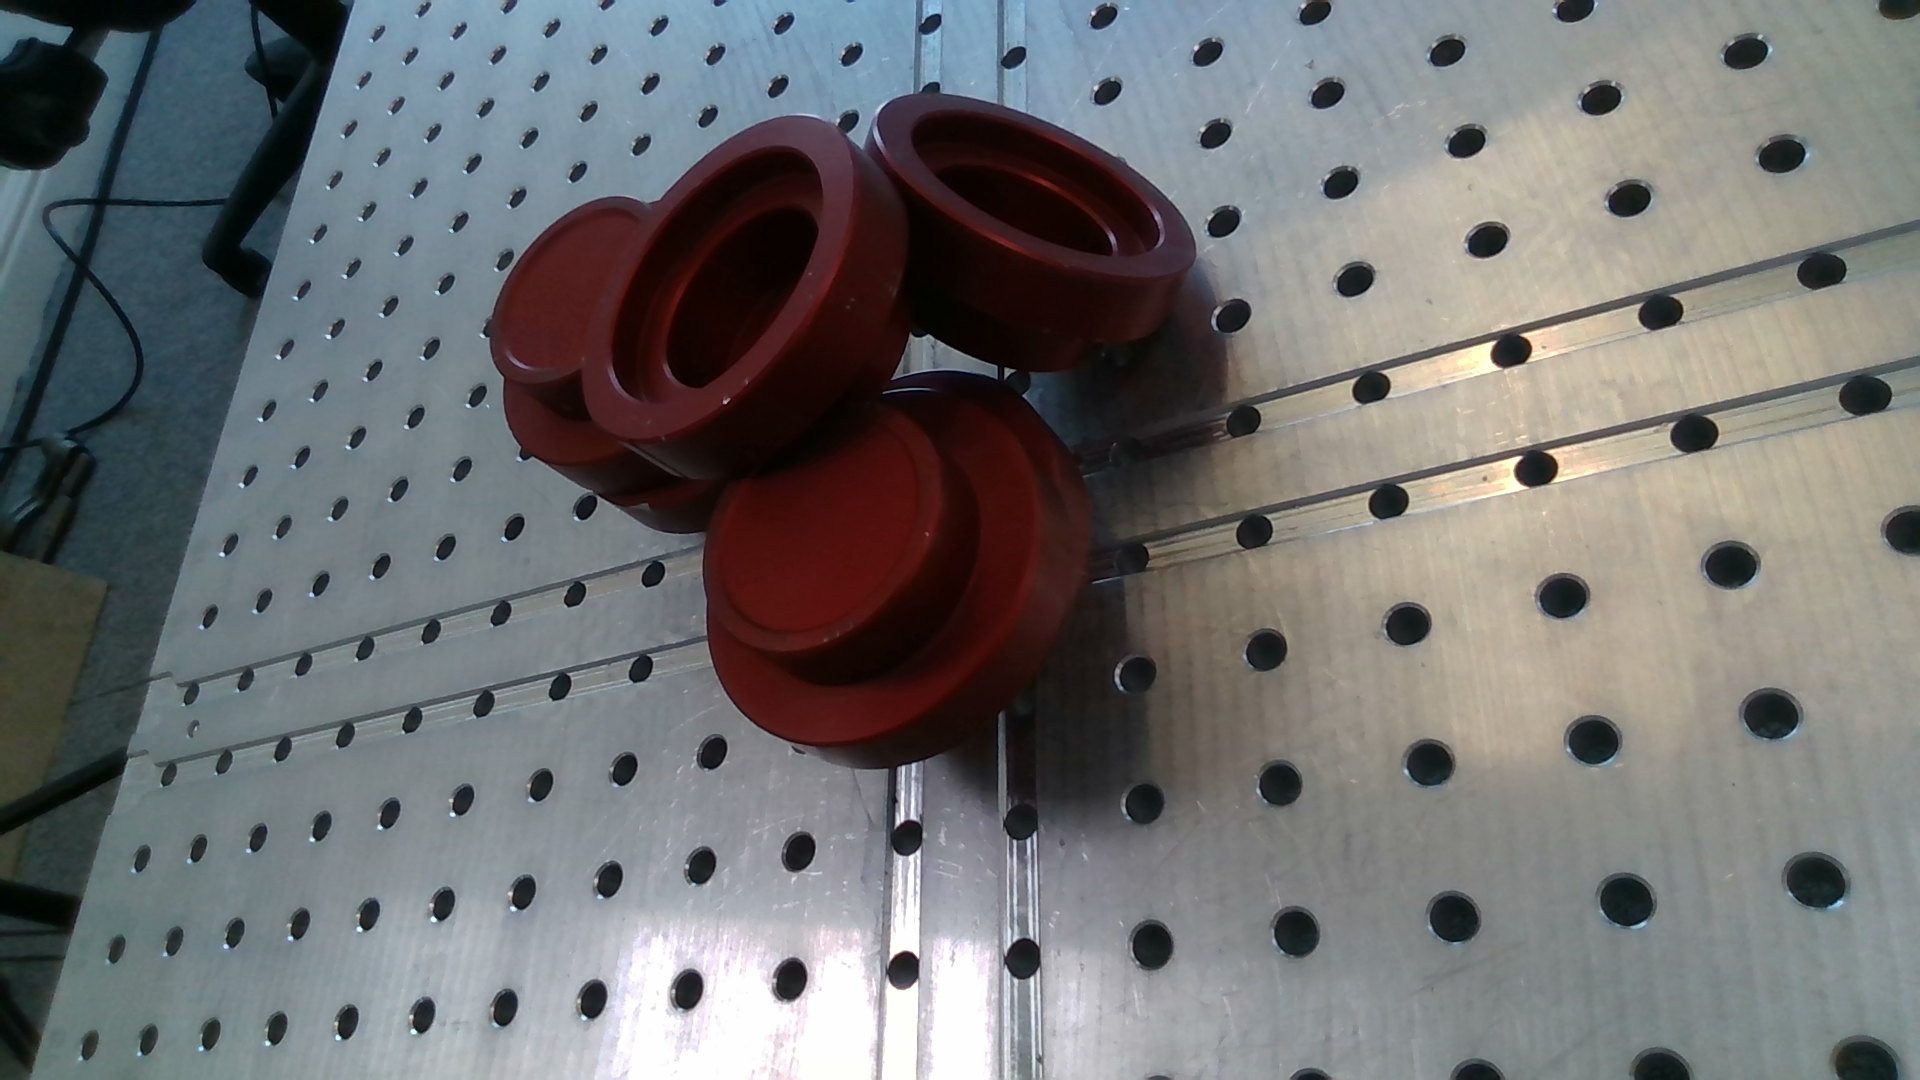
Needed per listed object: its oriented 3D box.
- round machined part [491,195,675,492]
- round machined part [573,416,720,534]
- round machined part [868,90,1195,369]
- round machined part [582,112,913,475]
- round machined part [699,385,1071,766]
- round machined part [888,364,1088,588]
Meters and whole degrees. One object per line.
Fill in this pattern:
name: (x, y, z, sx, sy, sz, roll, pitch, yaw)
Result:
round machined part: (-0.107, -0.068, 0.432, 0.098, 0.042, 0.098, -14, 59, 25)
round machined part: (-0.088, -0.055, 0.441, 0.098, 0.042, 0.098, -14, 59, 25)
round machined part: (0.014, -0.086, 0.397, 0.098, 0.098, 0.042, 59, 136, 38)
round machined part: (-0.051, -0.060, 0.366, 0.098, 0.042, 0.098, -21, 52, 30)
round machined part: (-0.025, 0.003, 0.343, 0.098, 0.042, 0.098, -14, 59, 24)
round machined part: (-0.018, -0.005, 0.372, 0.098, 0.042, 0.098, -14, 59, 25)
